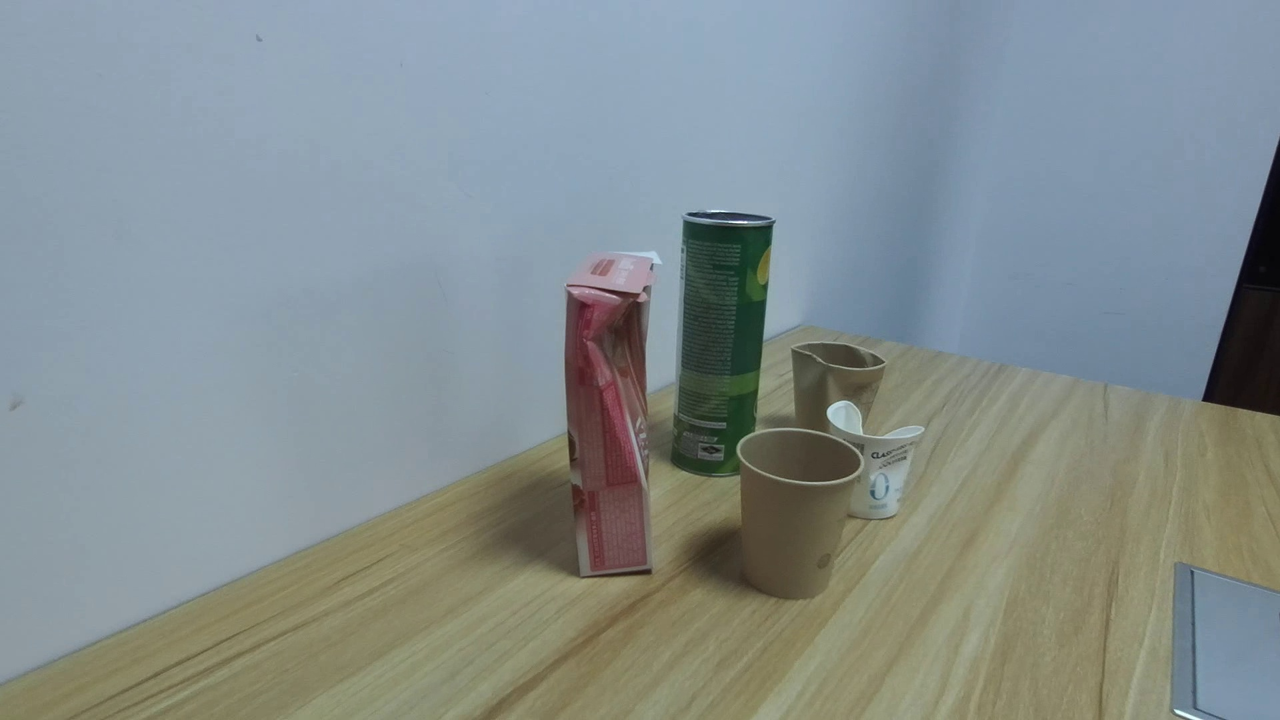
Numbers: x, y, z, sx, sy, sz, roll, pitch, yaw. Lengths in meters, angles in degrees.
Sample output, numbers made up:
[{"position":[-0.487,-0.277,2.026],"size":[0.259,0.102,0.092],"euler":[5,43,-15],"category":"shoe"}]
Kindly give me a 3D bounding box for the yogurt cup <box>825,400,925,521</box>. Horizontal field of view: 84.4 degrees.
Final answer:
[{"position":[0.165,0.075,0.515],"size":[0.067,0.070,0.067],"euler":[4,19,-1],"category":"yogurt cup"}]

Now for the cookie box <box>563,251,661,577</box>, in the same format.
[{"position":[-0.015,0.032,0.441],"size":[0.055,0.184,0.118],"euler":[2,19,-1],"category":"cookie box"}]

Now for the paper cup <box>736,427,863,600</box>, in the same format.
[{"position":[0.091,0.093,0.423],"size":[0.075,0.082,0.075],"euler":[2,18,0],"category":"paper cup"}]

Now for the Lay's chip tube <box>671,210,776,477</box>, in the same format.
[{"position":[0.063,-0.013,0.556],"size":[0.071,0.202,0.071],"euler":[3,18,-1],"category":"Lay's chip tube"}]

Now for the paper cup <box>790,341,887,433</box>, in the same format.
[{"position":[0.169,0.033,0.617],"size":[0.066,0.084,0.071],"euler":[-6,20,-22],"category":"paper cup"}]
